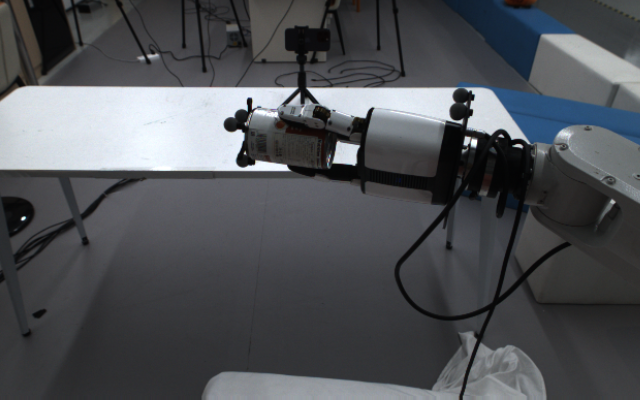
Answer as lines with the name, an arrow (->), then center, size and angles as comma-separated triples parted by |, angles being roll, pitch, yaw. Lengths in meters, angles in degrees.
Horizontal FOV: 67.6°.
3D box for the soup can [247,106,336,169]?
soup can -> -0.033, -0.076, 0.601 | 0.101, 0.067, 0.067 | 8, 35, 10
